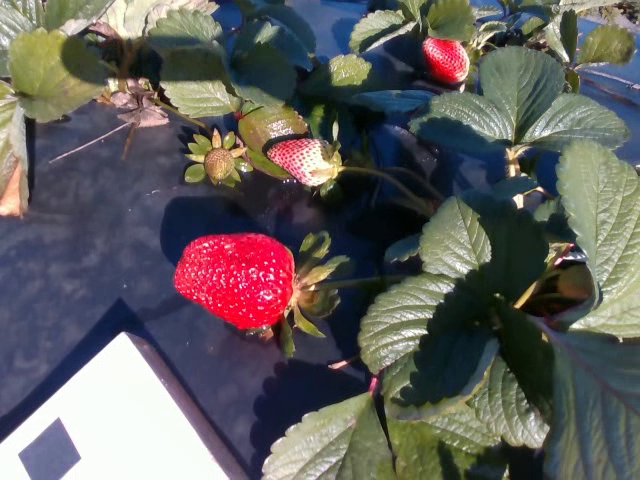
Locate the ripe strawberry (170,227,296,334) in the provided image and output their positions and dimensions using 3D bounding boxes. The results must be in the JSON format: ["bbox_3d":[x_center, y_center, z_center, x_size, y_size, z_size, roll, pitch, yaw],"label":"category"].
[{"bbox_3d":[-0.038,0.016,0.277,0.061,0.066,0.058,21,-29,-40],"label":"ripe strawberry"}]
